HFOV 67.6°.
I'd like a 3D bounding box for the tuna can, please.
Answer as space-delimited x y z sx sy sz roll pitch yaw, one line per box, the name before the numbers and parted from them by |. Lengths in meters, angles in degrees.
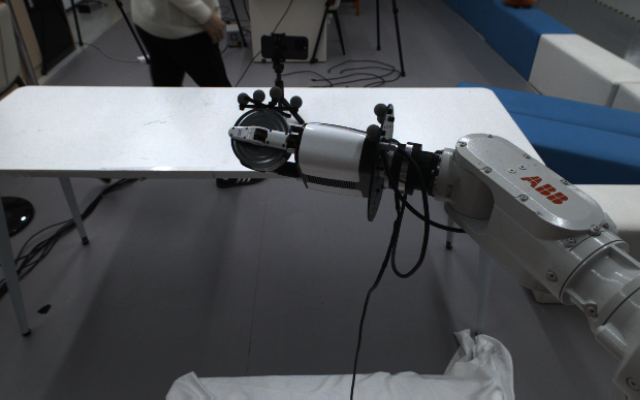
tuna can | -0.080 -0.086 0.686 0.085 0.085 0.034 11 -6 13
